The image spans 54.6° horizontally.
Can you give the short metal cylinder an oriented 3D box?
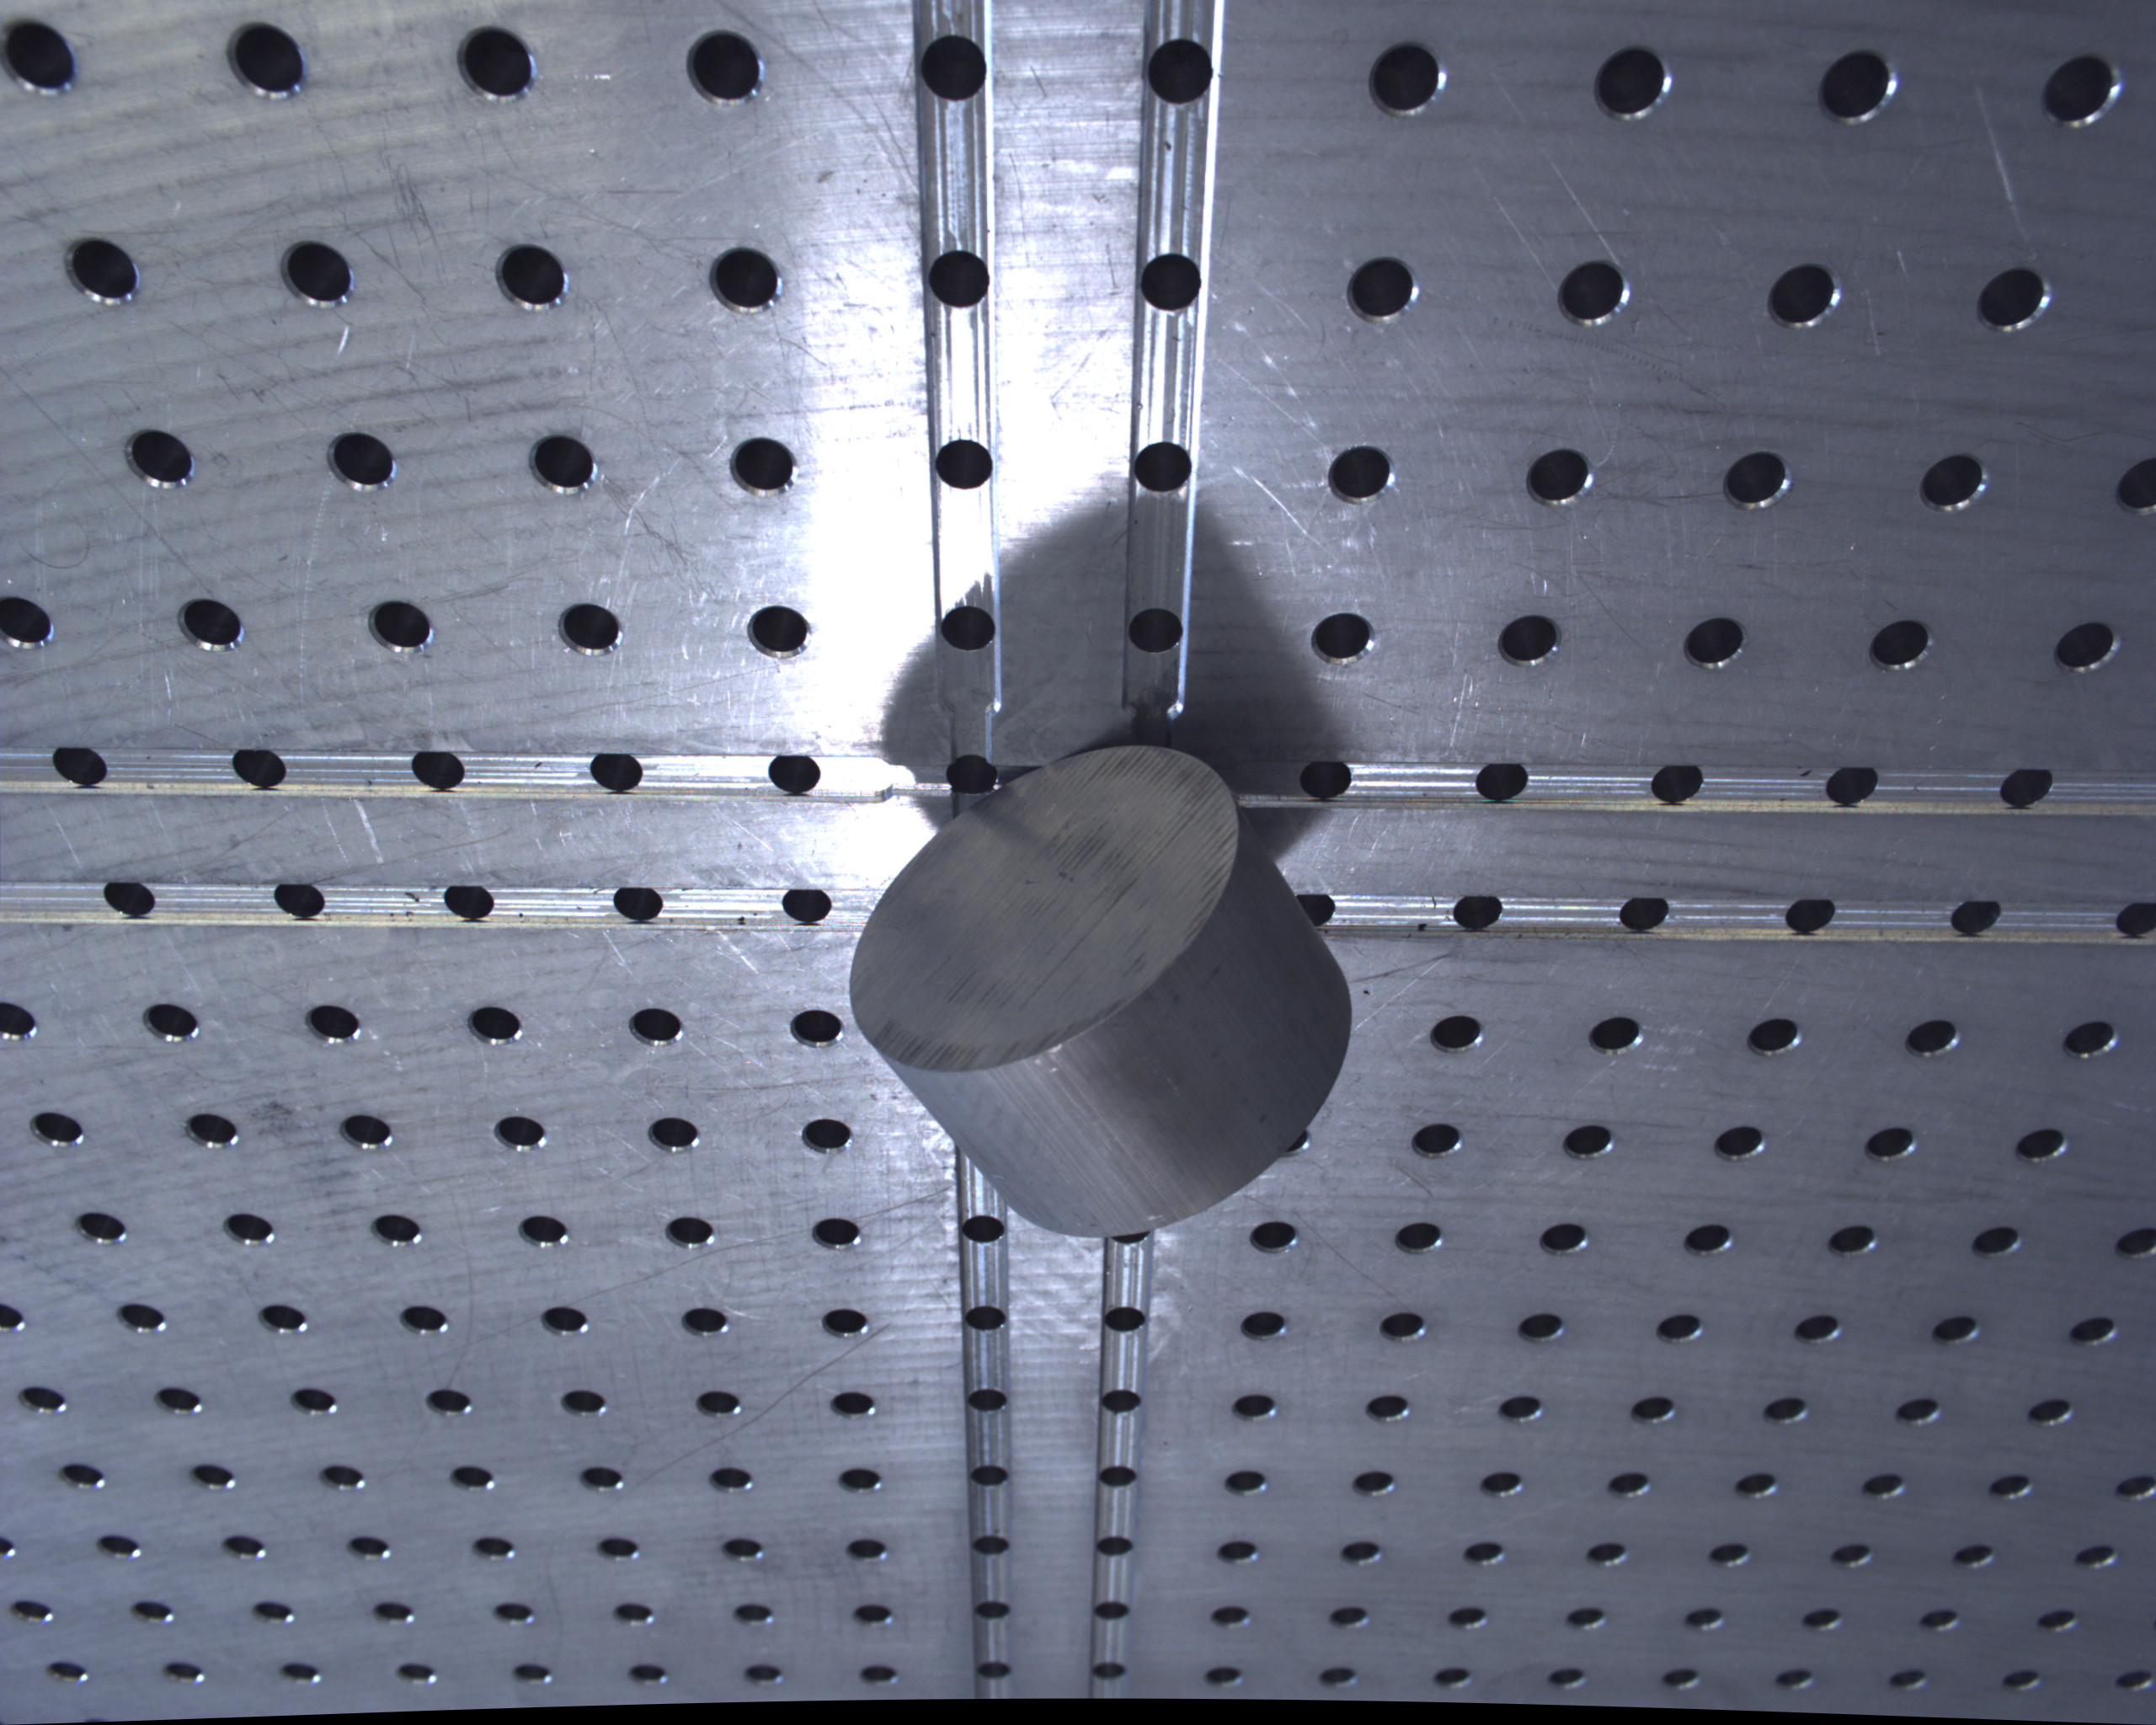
[{"bbox_3d":[0.004,0.024,0.394,0.080,0.080,0.050,-22,126,18],"label":"short metal cylinder"}]
